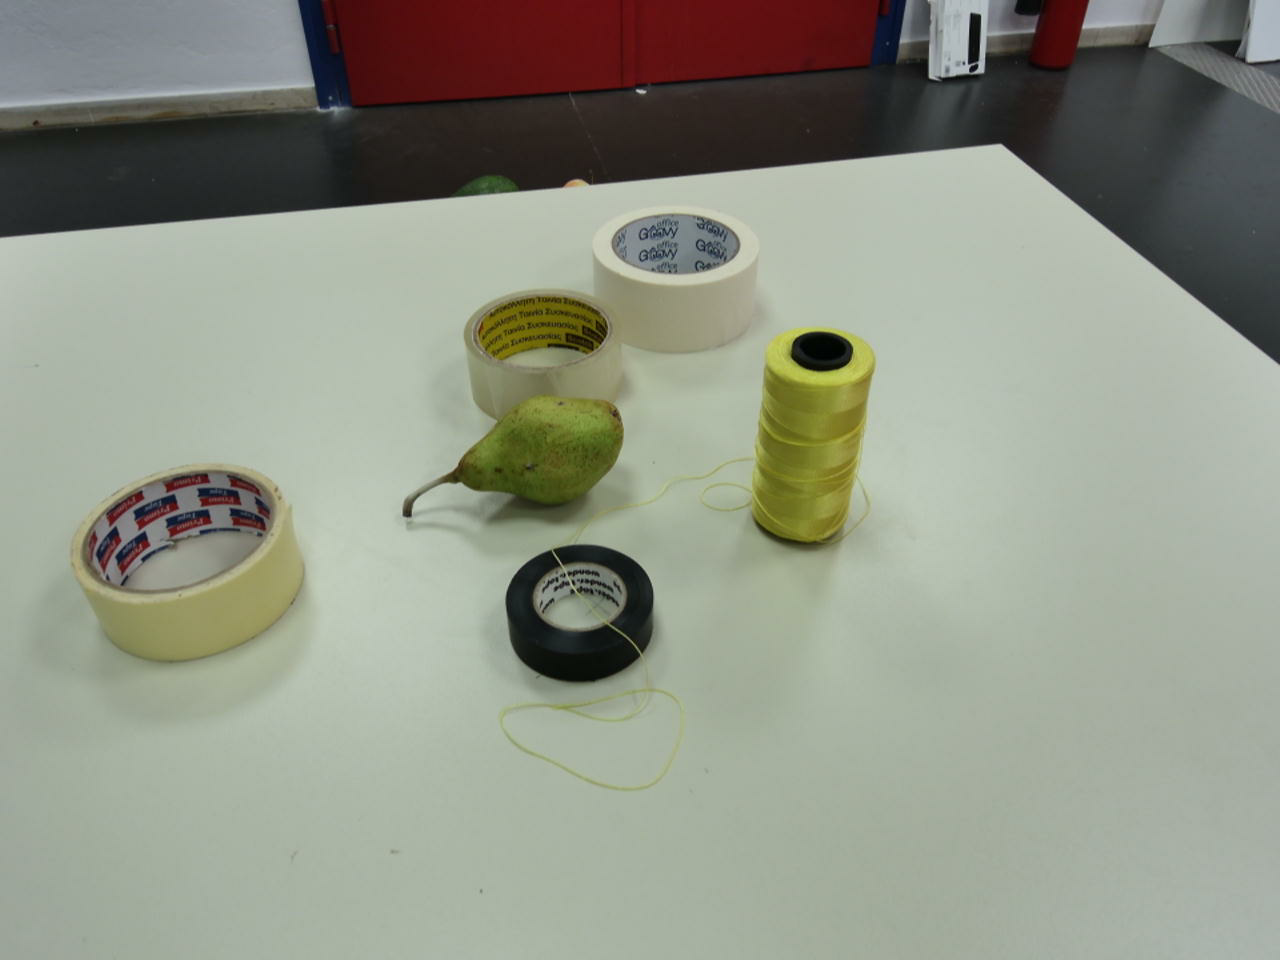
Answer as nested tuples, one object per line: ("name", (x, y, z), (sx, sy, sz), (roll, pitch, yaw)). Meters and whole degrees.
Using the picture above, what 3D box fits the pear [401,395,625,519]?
("pear", (-0.064, -0.016, 0.503), (0.111, 0.056, 0.056), (1, 39, 2))
